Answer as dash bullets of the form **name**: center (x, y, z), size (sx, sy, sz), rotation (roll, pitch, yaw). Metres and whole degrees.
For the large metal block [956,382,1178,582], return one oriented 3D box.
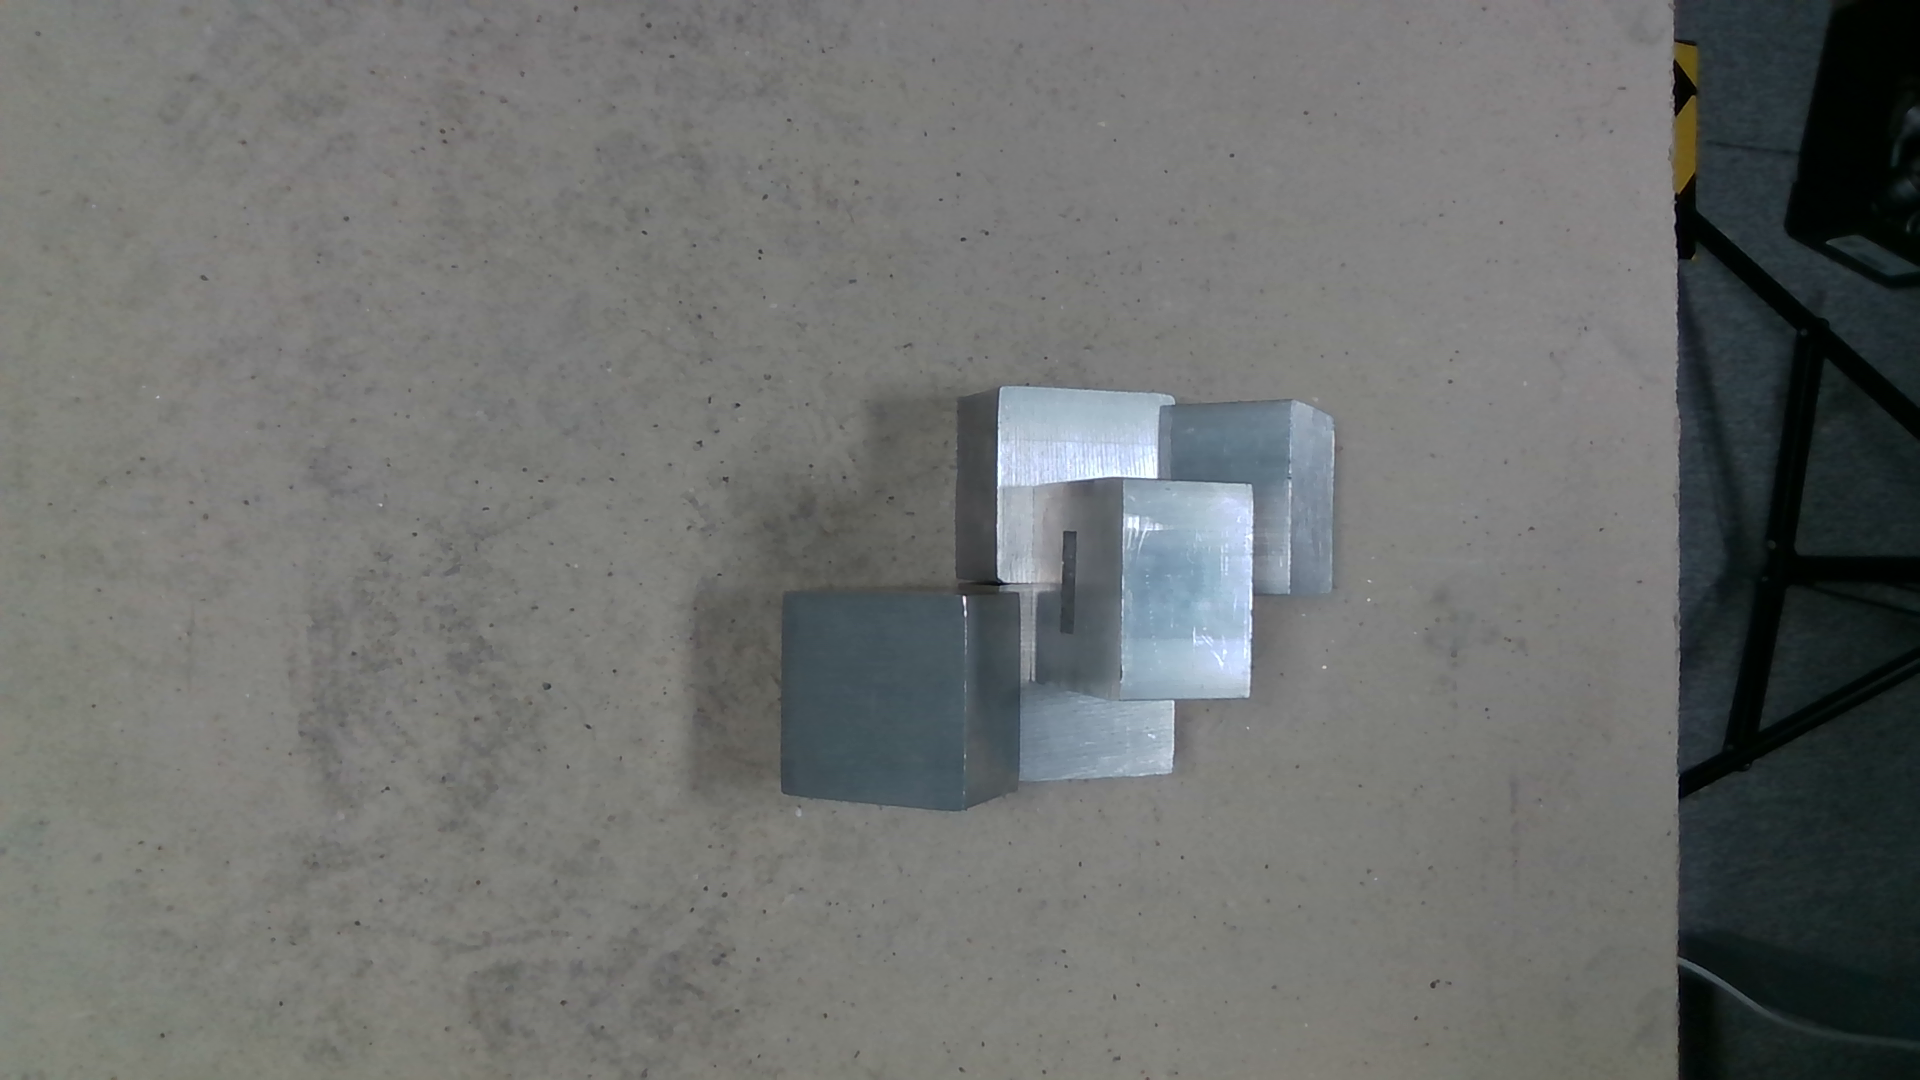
- **large metal block**: center (0.045, -0.023, 0.587), size (0.080, 0.050, 0.080), rotation (1, 90, -20)

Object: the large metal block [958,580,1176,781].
- **large metal block**: center (0.045, 0.058, 0.588), size (0.080, 0.050, 0.080), rotation (1, 90, -20)

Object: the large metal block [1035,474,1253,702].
- **large metal block**: center (0.068, 0.018, 0.529), size (0.050, 0.080, 0.080), rotation (1, 90, -20)

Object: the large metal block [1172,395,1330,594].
- **large metal block**: center (0.128, -0.018, 0.598), size (0.080, 0.050, 0.080), rotation (1, 89, -64)

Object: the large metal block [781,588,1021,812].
- **large metal block**: center (-0.023, 0.059, 0.542), size (0.050, 0.080, 0.080), rotation (0, 90, -64)
